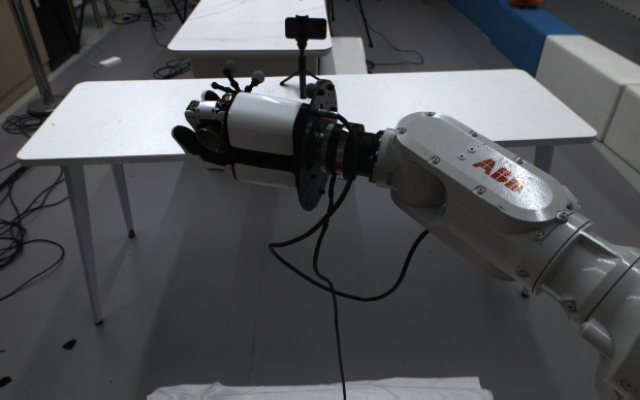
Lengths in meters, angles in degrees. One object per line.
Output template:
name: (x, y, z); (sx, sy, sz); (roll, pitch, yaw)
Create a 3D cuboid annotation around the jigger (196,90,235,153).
jigger: (-0.126, -0.103, 0.621); (0.043, 0.043, 0.071); (15, 58, 18)
